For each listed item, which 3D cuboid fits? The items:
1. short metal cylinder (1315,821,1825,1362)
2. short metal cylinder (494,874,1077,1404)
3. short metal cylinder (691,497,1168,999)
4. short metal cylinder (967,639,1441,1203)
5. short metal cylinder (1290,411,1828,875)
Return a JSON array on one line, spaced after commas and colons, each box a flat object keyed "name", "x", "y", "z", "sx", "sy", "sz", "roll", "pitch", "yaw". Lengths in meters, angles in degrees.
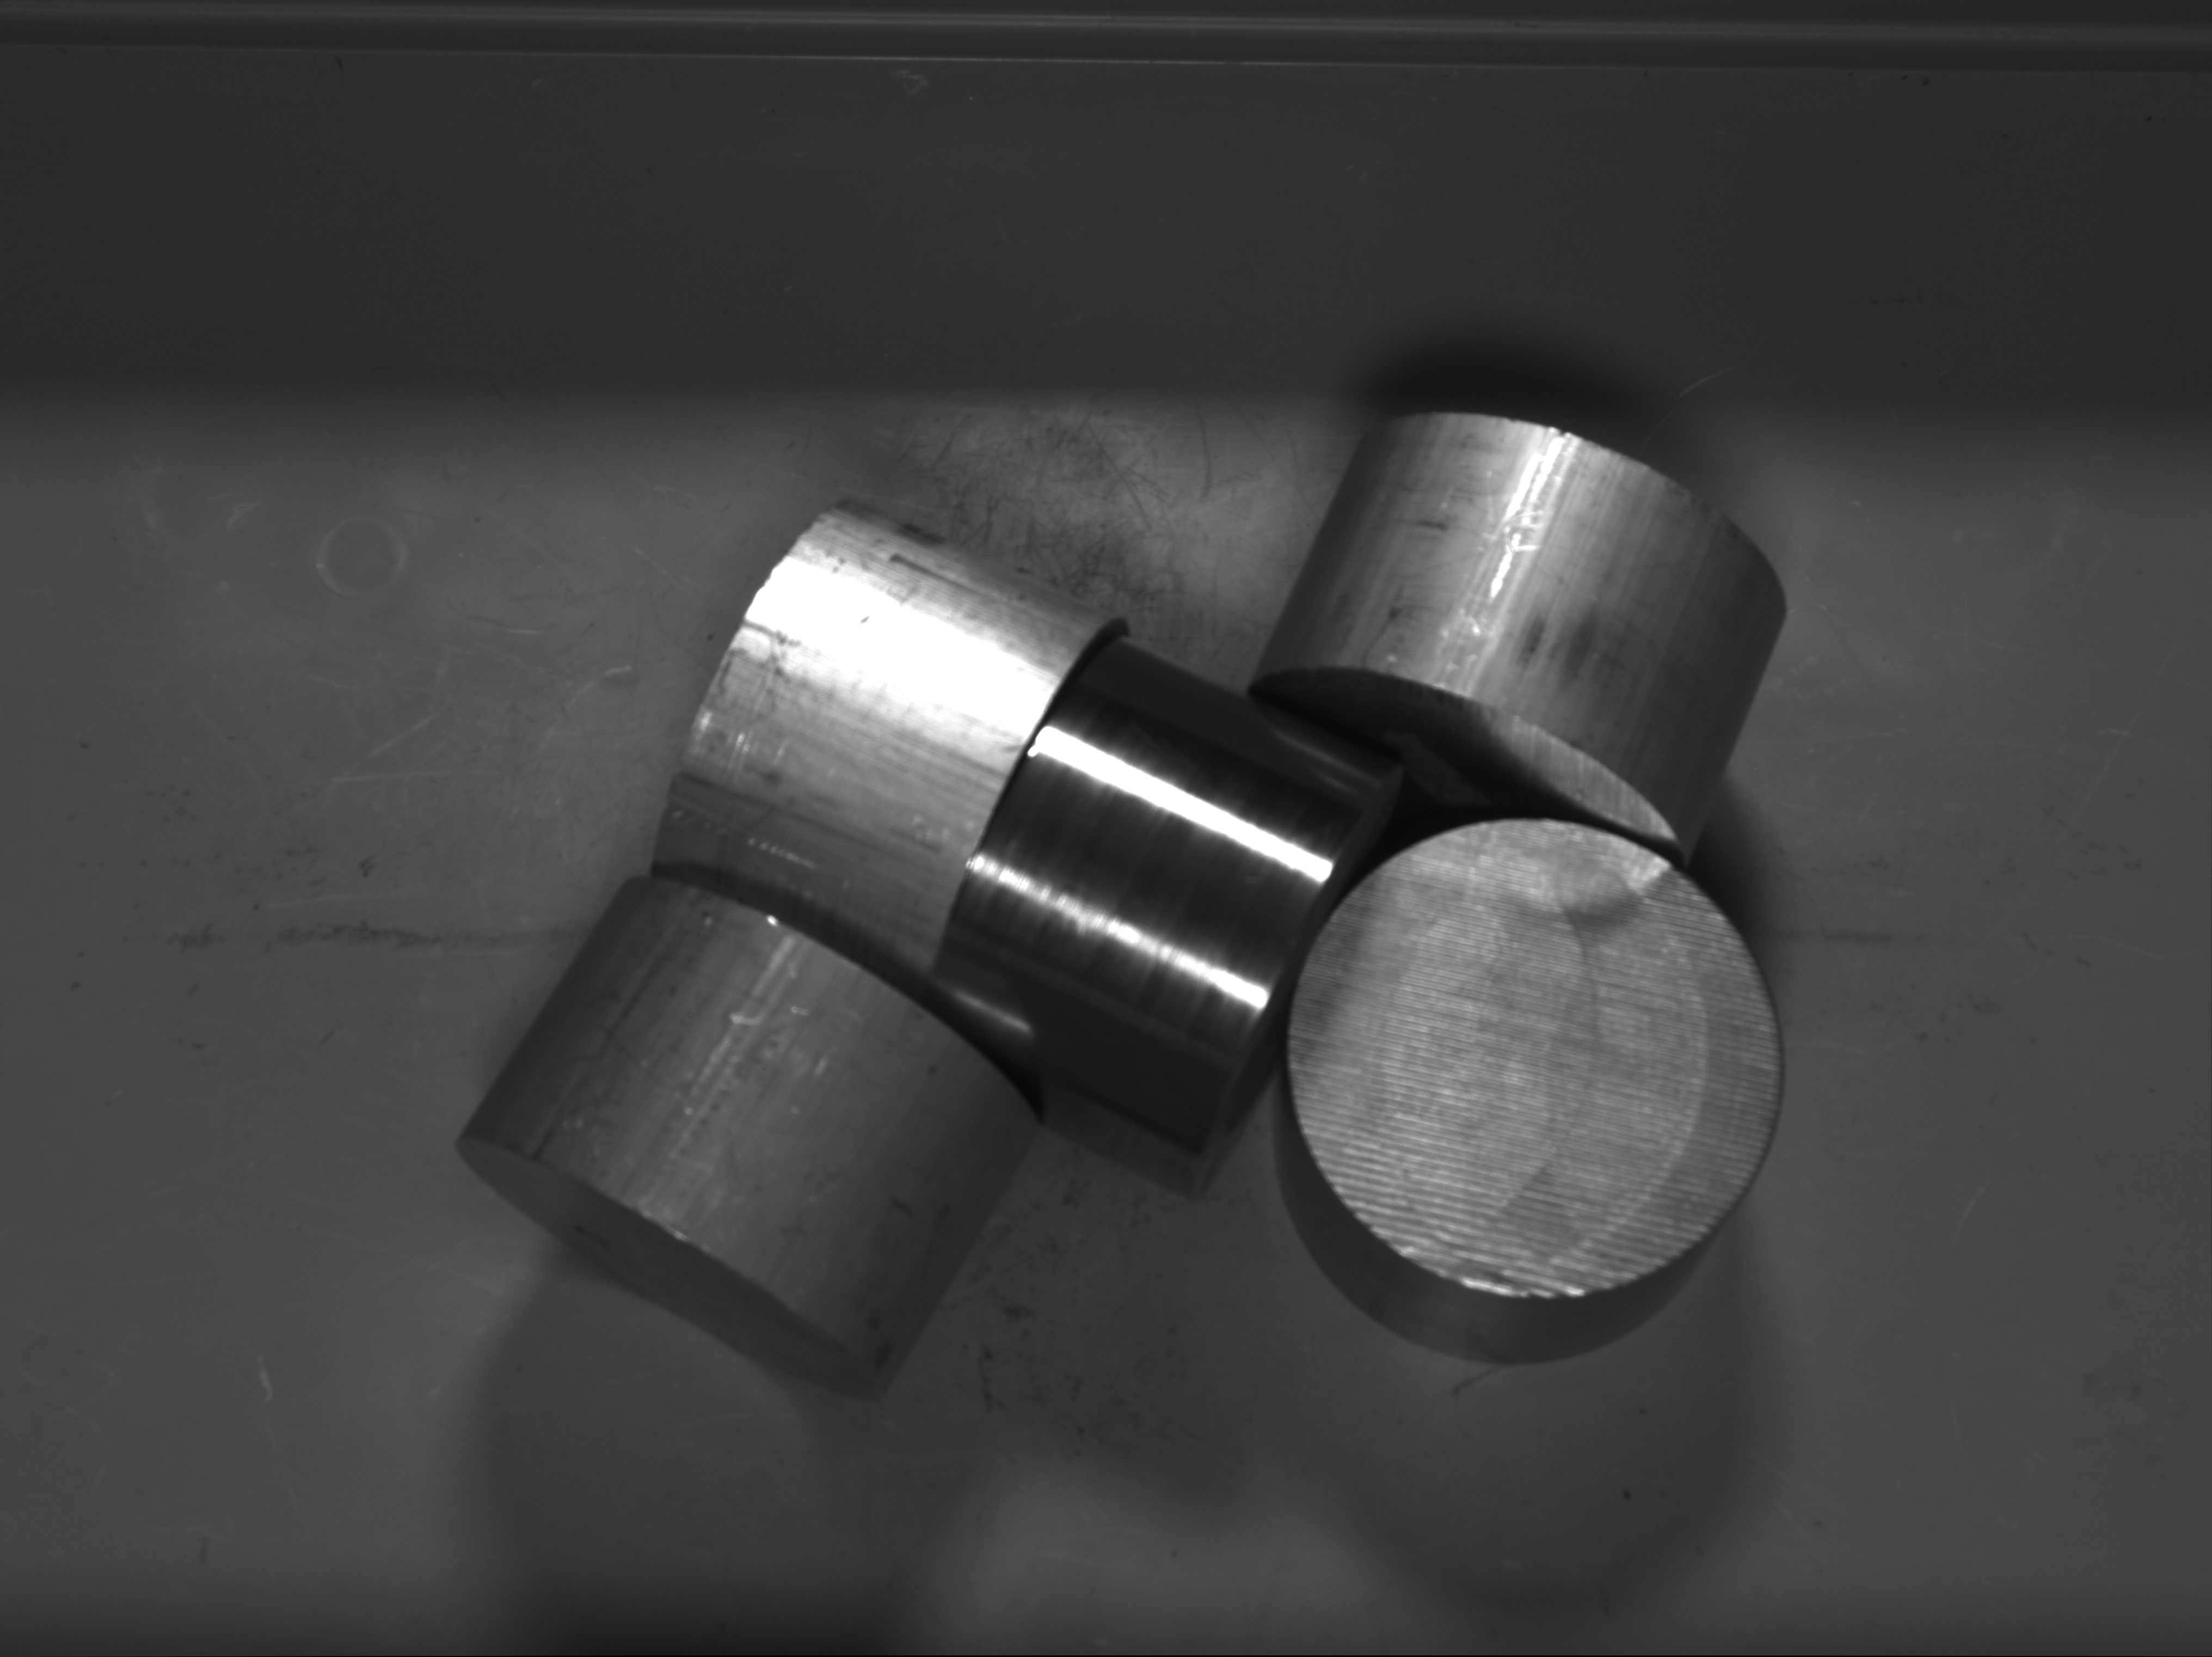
[{"name": "short metal cylinder", "x": 0.076, "y": 0.045, "z": 0.613, "sx": 0.080, "sy": 0.050, "sz": 0.080, "roll": 0, "pitch": 70, "yaw": 0}, {"name": "short metal cylinder", "x": -0.052, "y": 0.051, "z": 0.595, "sx": 0.080, "sy": 0.080, "sz": 0.050, "roll": 28, "pitch": 72, "yaw": 10}, {"name": "short metal cylinder", "x": -0.029, "y": -0.009, "z": 0.618, "sx": 0.050, "sy": 0.080, "sz": 0.080, "roll": 24, "pitch": 72, "yaw": 9}, {"name": "short metal cylinder", "x": 0.016, "y": 0.015, "z": 0.609, "sx": 0.050, "sy": 0.080, "sz": 0.080, "roll": 25, "pitch": 72, "yaw": 9}, {"name": "short metal cylinder", "x": 0.076, "y": -0.028, "z": 0.624, "sx": 0.080, "sy": 0.080, "sz": 0.050, "roll": 22, "pitch": 71, "yaw": 8}]
